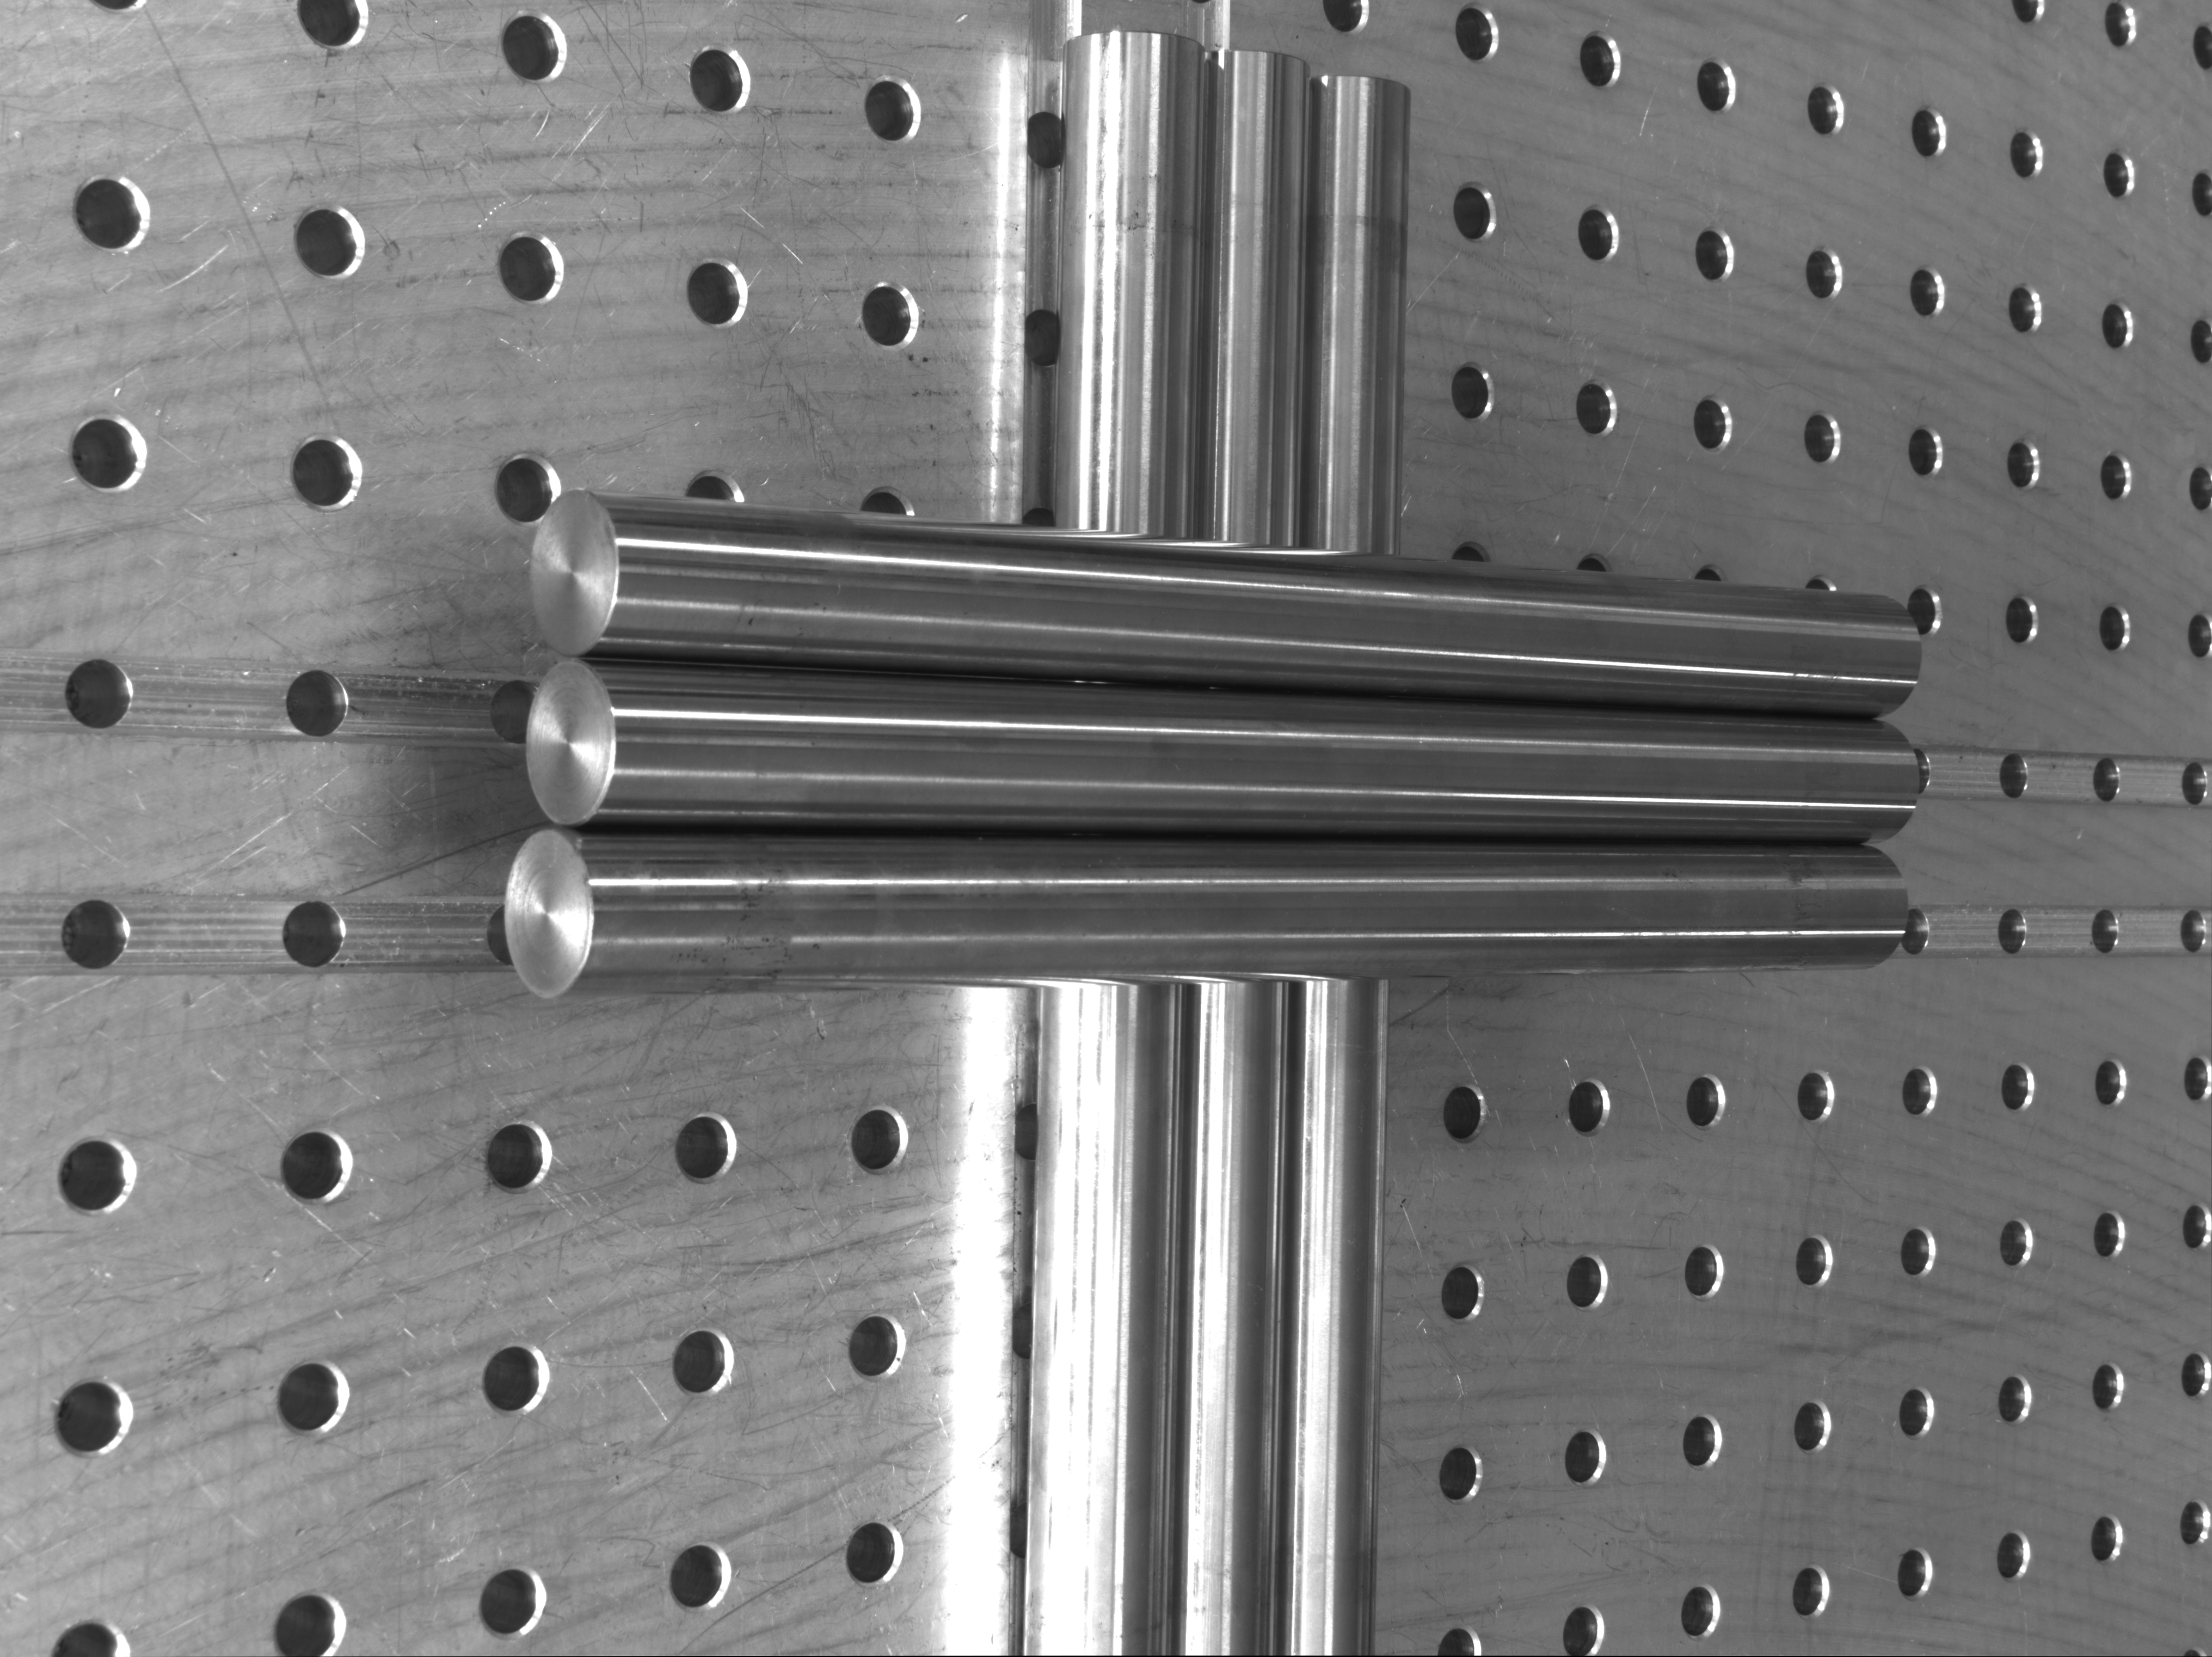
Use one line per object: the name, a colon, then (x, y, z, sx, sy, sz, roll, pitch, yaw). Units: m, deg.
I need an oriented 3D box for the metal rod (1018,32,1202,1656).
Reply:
metal rod: (0.001, 0.013, 0.640, 0.025, 0.025, 0.300, 2, 88, -40)

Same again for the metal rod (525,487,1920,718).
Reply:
metal rod: (0.037, -0.036, 0.637, 0.301, 0.025, 0.025, 1, 89, -40)

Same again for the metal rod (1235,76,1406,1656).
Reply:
metal rod: (0.039, 0.014, 0.672, 0.025, 0.025, 0.300, 2, 88, -40)

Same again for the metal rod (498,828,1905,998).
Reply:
metal rod: (0.033, 0.014, 0.634, 0.301, 0.025, 0.025, 1, 89, -40)

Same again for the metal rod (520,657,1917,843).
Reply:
metal rod: (0.036, -0.011, 0.637, 0.301, 0.025, 0.025, 1, 89, -40)

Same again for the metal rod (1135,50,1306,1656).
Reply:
metal rod: (0.020, 0.013, 0.656, 0.025, 0.025, 0.300, 2, 88, -40)
